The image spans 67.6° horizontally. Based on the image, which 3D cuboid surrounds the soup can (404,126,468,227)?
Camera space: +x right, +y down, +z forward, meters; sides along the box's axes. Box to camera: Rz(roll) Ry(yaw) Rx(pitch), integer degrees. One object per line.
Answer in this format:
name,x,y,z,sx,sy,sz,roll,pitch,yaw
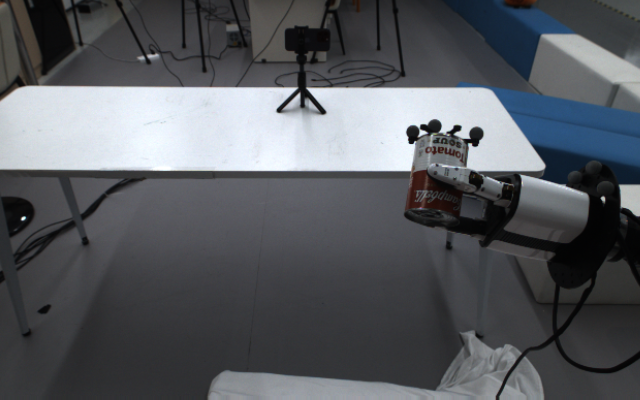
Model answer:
soup can,0.148,-0.026,0.606,0.067,0.067,0.101,9,74,9
